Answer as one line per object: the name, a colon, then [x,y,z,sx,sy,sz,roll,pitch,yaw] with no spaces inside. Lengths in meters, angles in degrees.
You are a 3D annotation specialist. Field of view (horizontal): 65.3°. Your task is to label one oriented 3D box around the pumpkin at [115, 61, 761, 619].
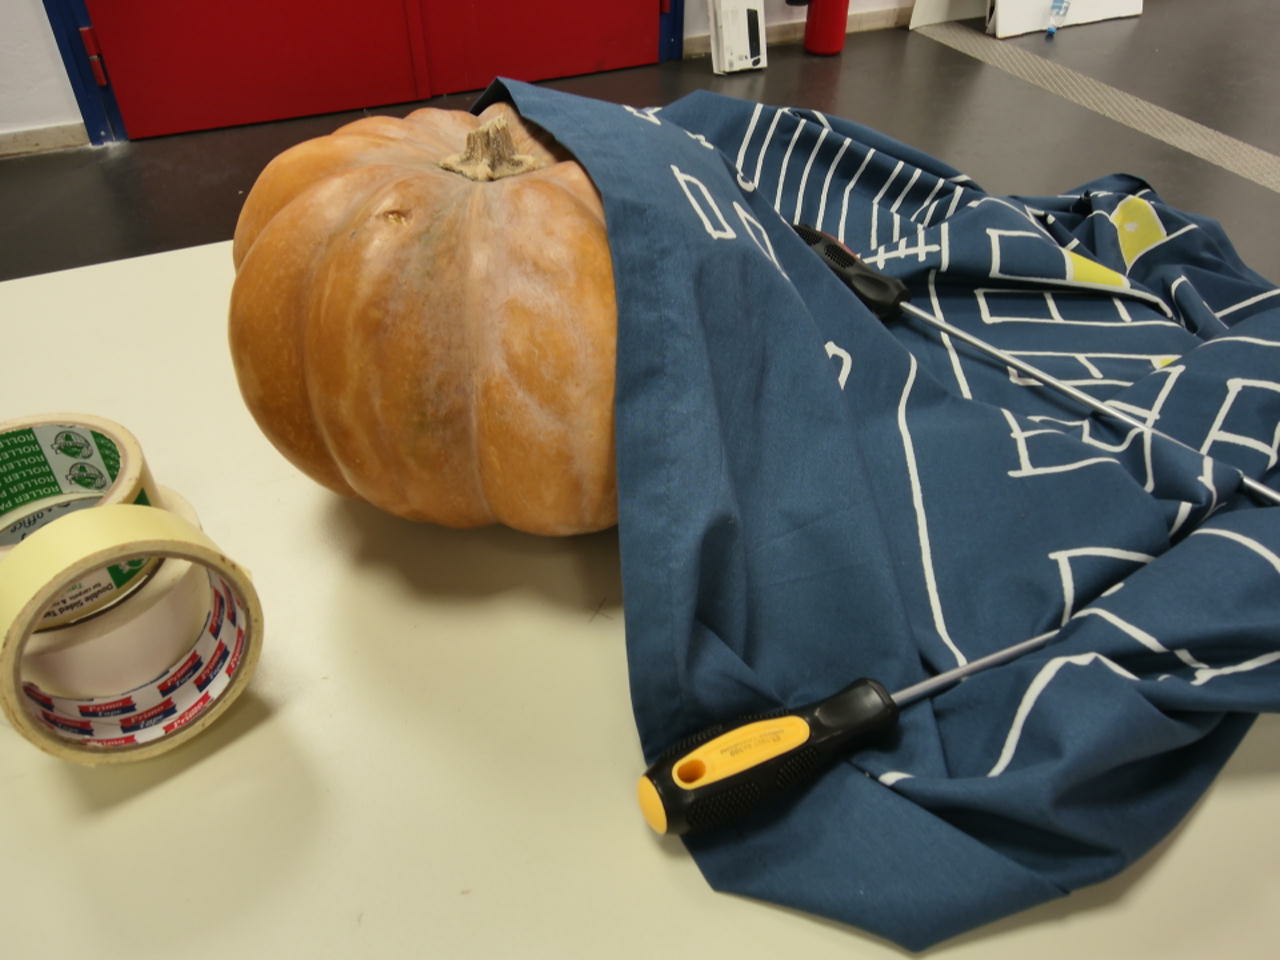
pumpkin: [-0.067,-0.087,0.499,0.277,0.181,0.277,0,39,0]
